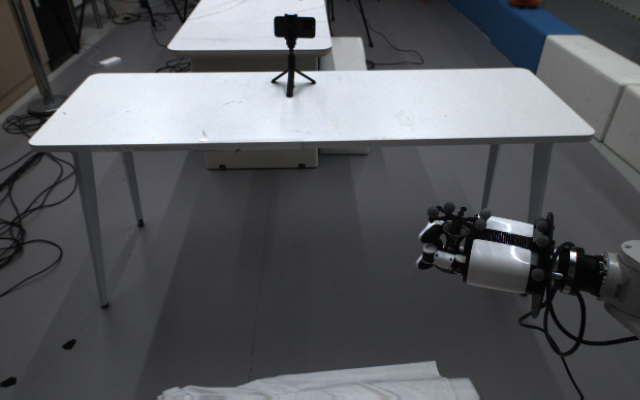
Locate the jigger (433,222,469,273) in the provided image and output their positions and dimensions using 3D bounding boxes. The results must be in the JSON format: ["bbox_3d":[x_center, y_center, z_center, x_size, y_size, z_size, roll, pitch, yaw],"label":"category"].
[{"bbox_3d":[0.209,0.073,0.757,0.043,0.071,0.043,3,25,-1],"label":"jigger"}]
